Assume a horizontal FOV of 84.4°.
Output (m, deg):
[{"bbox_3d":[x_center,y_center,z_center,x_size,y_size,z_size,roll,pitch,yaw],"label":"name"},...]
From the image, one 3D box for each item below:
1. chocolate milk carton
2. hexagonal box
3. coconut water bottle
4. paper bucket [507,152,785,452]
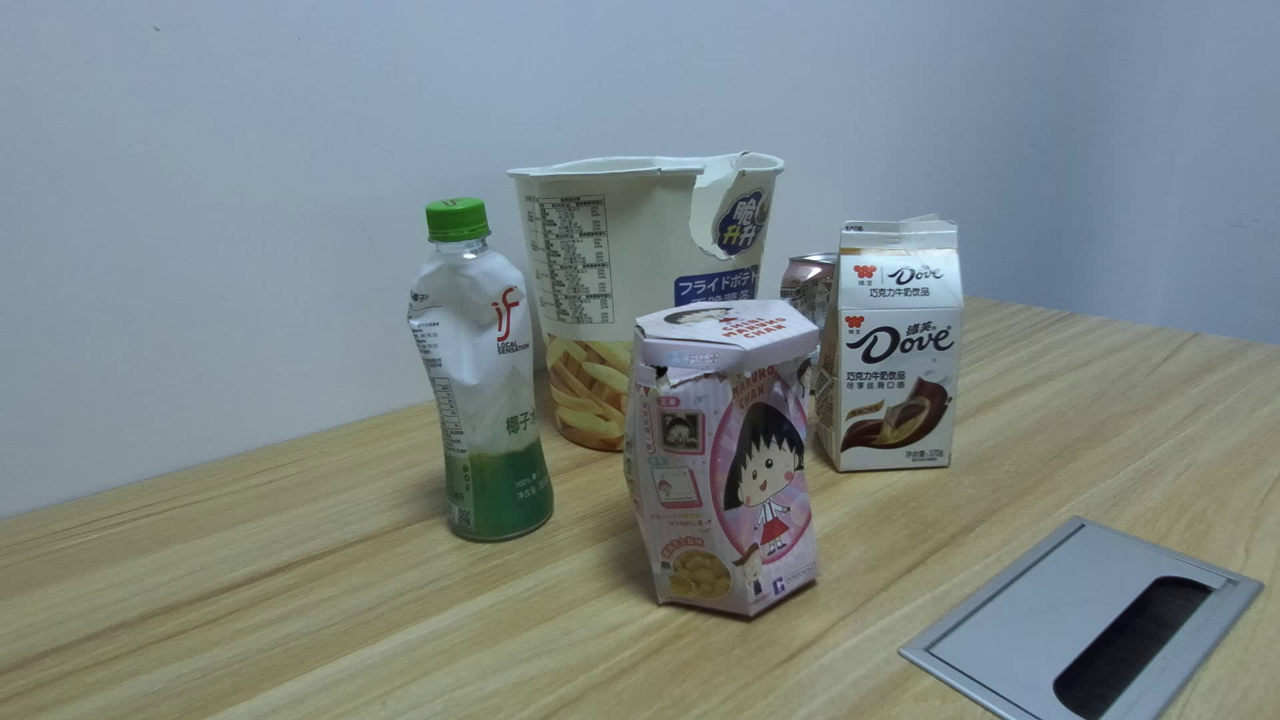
[{"bbox_3d":[0.155,-0.013,0.457,0.084,0.155,0.073,-4,19,0],"label":"chocolate milk carton"},{"bbox_3d":[0.041,0.045,0.349,0.091,0.134,0.090,-2,15,6],"label":"hexagonal box"},{"bbox_3d":[-0.089,0.006,0.400,0.069,0.187,0.069,-2,18,1],"label":"coconut water bottle"},{"bbox_3d":[0.003,-0.047,0.521,0.202,0.197,0.146,1,20,15],"label":"paper bucket"}]
